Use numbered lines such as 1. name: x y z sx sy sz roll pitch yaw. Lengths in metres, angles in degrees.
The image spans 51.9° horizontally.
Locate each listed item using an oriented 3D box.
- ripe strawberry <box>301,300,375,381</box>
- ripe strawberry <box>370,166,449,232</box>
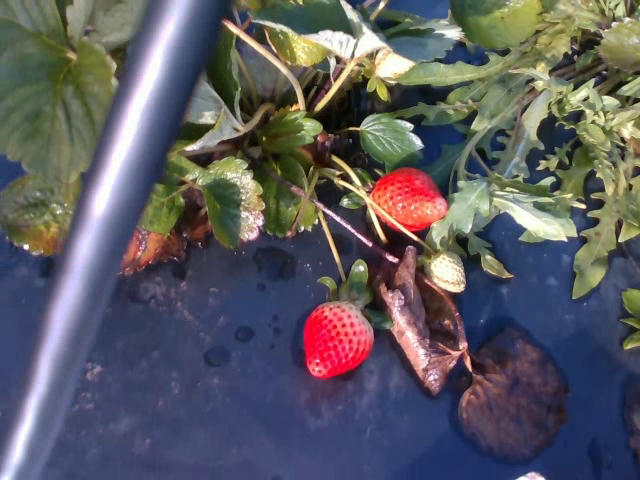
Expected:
1. ripe strawberry: 0.006 0.045 0.284 0.035 0.043 0.030 24 -34 13
2. ripe strawberry: 0.049 -0.023 0.326 0.039 0.032 0.048 -35 23 -22
